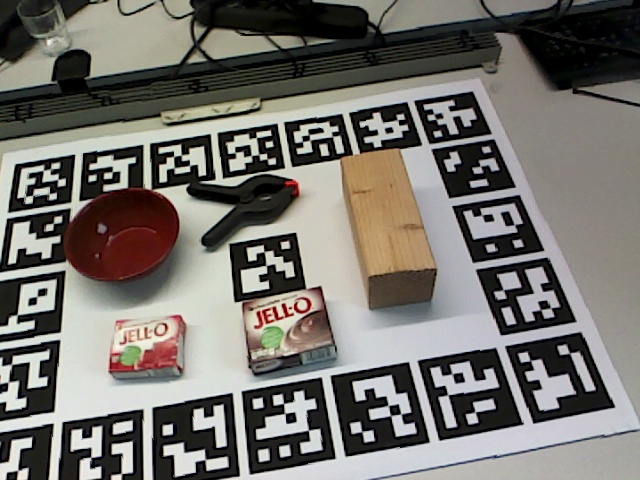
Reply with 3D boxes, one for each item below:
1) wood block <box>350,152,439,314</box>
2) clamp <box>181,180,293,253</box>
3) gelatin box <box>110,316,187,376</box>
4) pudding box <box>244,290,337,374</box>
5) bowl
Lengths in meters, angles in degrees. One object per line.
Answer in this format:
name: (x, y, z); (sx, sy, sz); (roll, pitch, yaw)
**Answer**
wood block: (0.099, -0.012, 0.861); (0.090, 0.090, 0.207); (-6, 56, -1)
clamp: (-0.121, -0.051, 0.948); (0.165, 0.036, 0.122); (-17, 56, -9)
gelatin box: (-0.226, 0.140, 0.819); (0.089, 0.030, 0.073); (-2, 57, 3)
pudding box: (-0.040, 0.121, 0.814); (0.114, 0.038, 0.090); (-10, 59, 0)
bowl: (-0.275, 0.002, 0.912); (0.162, 0.055, 0.162); (-1, 58, 2)
